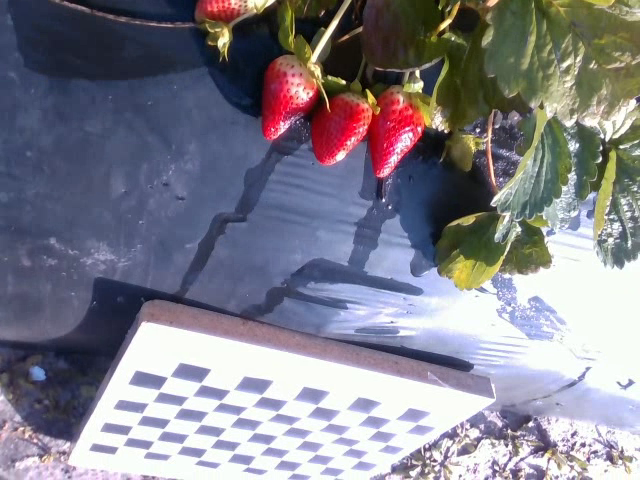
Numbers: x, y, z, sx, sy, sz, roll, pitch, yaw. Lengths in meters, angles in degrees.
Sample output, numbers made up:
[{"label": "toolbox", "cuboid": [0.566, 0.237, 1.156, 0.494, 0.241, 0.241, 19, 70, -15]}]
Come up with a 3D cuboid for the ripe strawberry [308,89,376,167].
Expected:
[{"label": "ripe strawberry", "cuboid": [0.009, -0.054, 0.295, 0.030, 0.039, 0.036, 27, -24, -26]}]

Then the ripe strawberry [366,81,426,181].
[{"label": "ripe strawberry", "cuboid": [0.035, -0.049, 0.308, 0.035, 0.041, 0.033, 15, -6, -16]}]

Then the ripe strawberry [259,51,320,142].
[{"label": "ripe strawberry", "cuboid": [-0.017, -0.067, 0.291, 0.031, 0.046, 0.023, 18, 29, -19]}]
